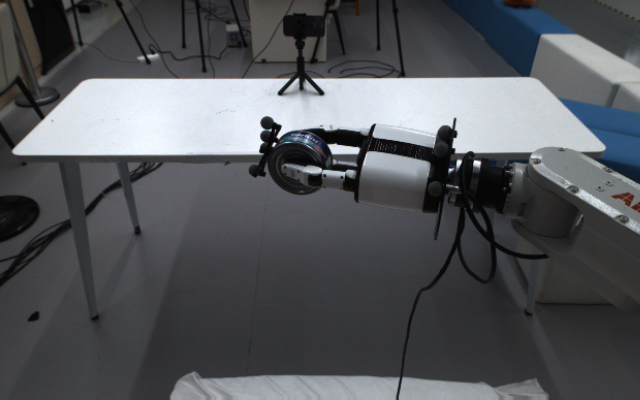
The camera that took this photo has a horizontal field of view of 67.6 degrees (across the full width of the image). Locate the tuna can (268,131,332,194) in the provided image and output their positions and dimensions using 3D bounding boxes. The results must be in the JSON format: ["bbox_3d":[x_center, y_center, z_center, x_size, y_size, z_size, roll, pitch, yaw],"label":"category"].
[{"bbox_3d":[-0.025,-0.046,0.659,0.085,0.085,0.034,9,35,10],"label":"tuna can"}]
